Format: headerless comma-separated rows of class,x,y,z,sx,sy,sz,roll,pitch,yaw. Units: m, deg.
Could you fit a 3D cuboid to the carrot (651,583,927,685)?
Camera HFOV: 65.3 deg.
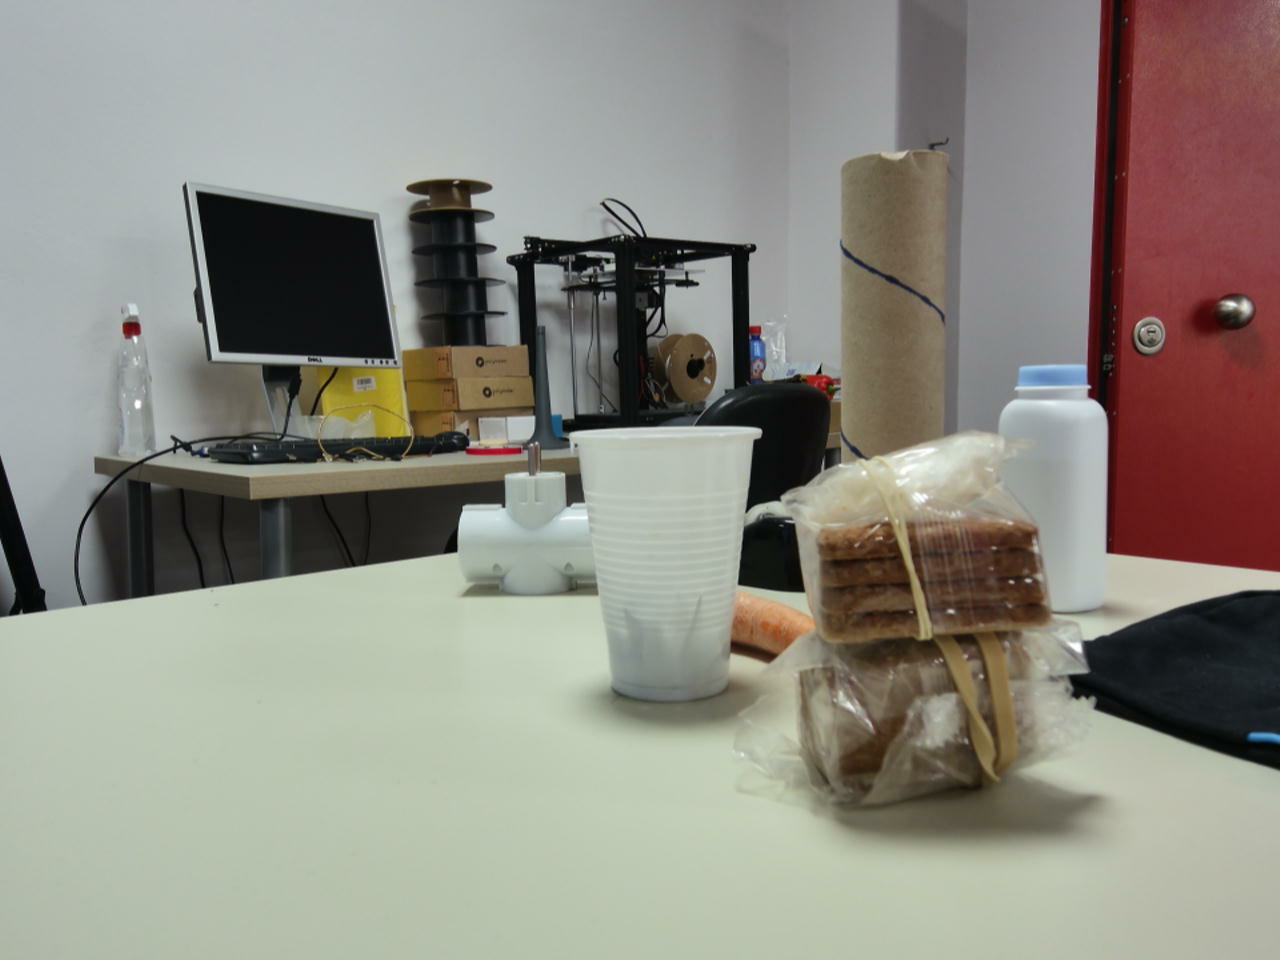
carrot,0.063,0.069,0.463,0.031,0.029,0.163,-2,5,-41
